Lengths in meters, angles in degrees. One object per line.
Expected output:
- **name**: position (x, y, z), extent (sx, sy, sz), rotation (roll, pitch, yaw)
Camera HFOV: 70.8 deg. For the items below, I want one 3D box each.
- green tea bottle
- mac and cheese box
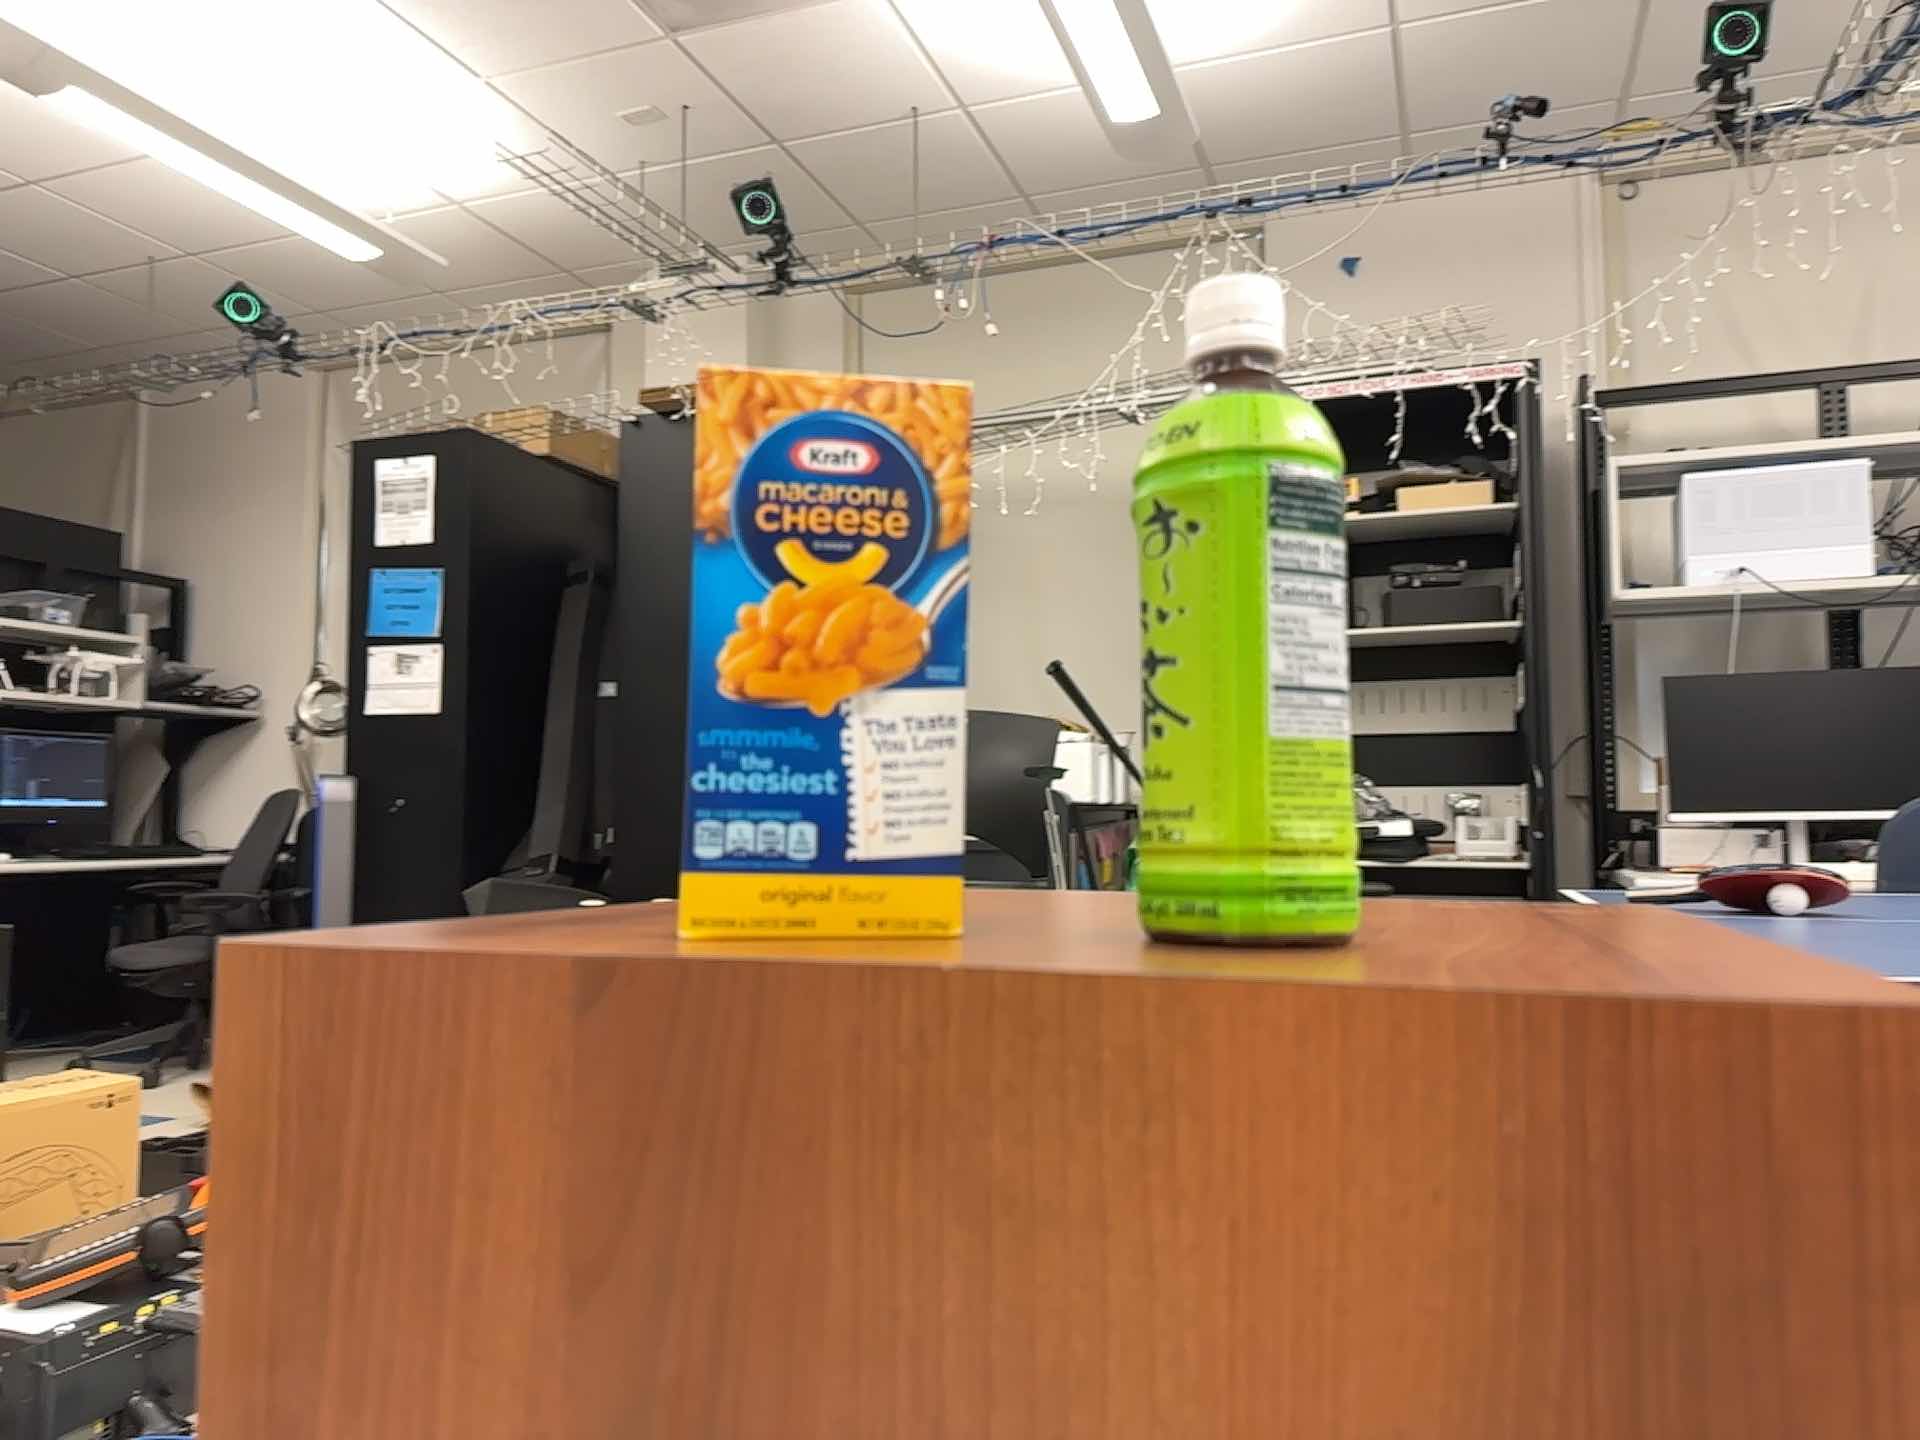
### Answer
- **green tea bottle**: position (0.091, -0.036, 0.434), extent (0.073, 0.212, 0.073), rotation (3, -8, 0)
- **mac and cheese box**: position (-0.042, -0.018, 0.451), extent (0.088, 0.181, 0.035), rotation (1, -7, -4)
